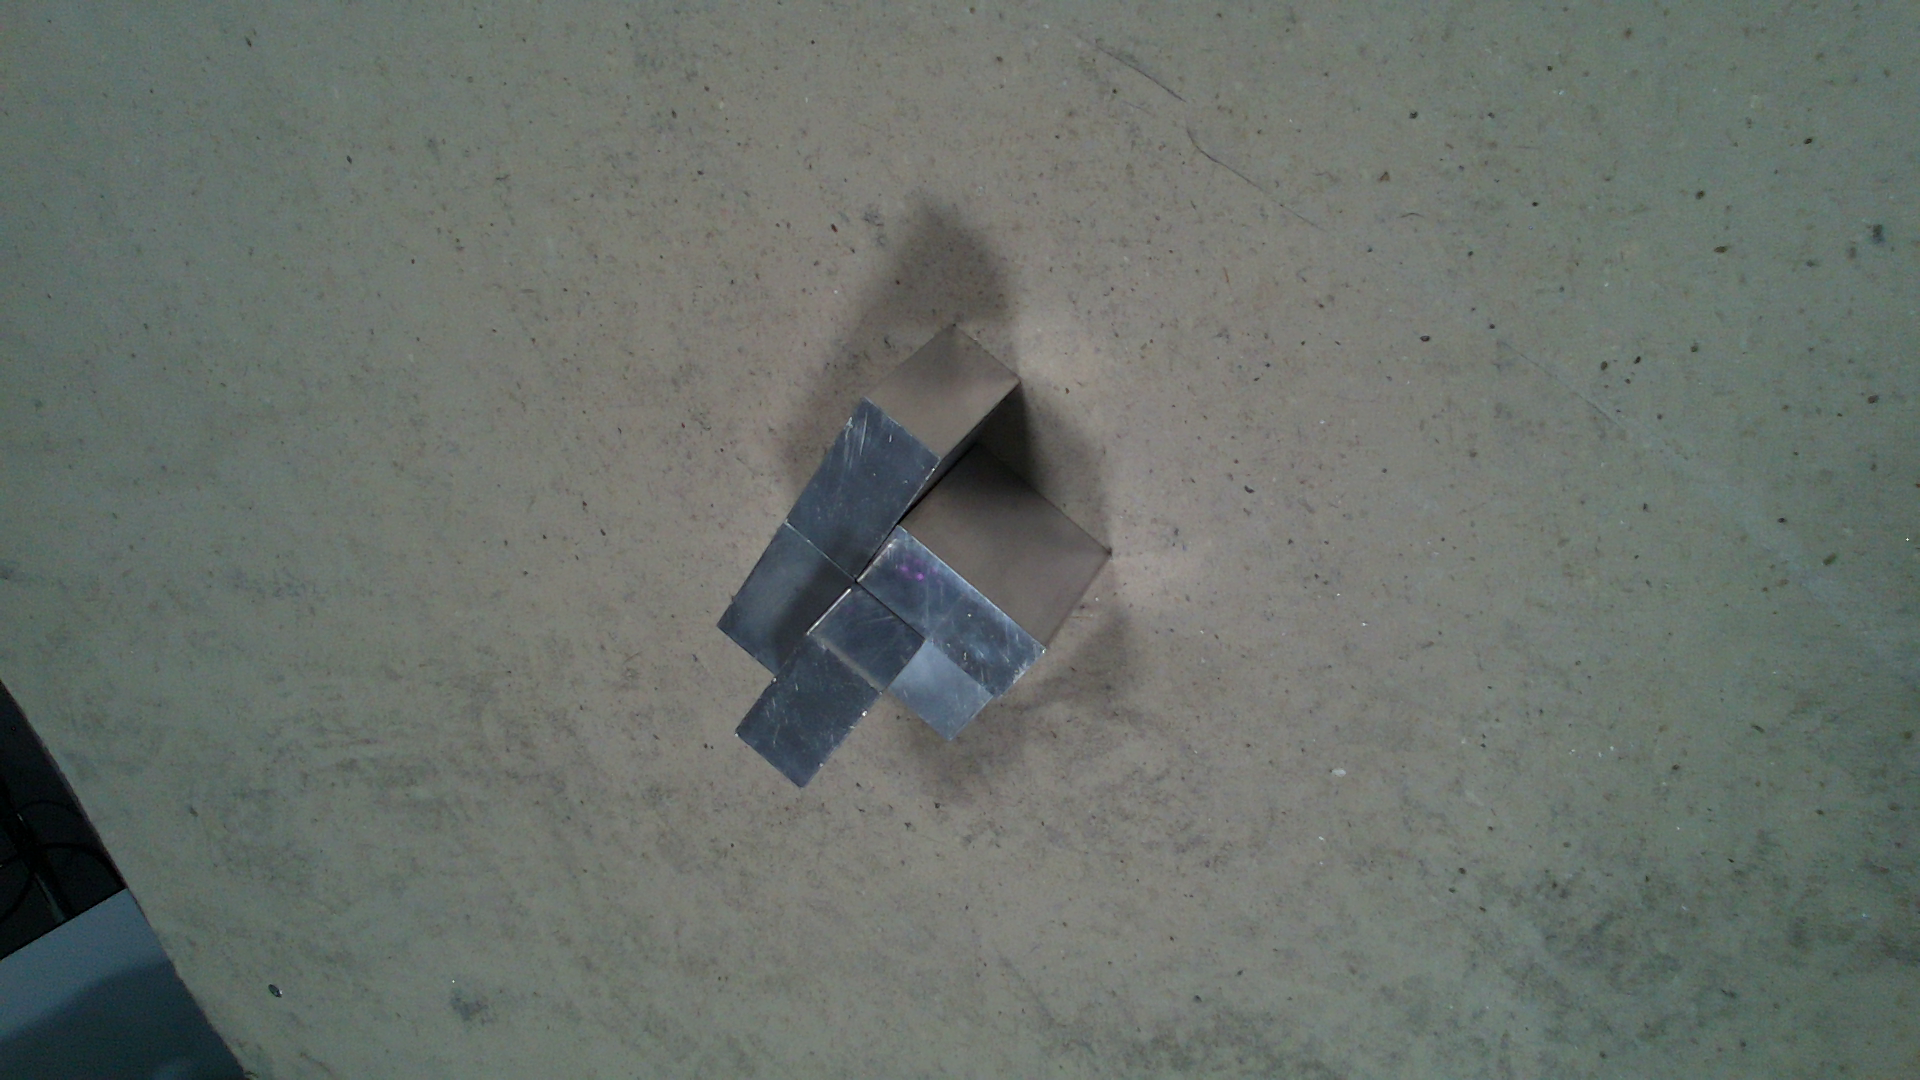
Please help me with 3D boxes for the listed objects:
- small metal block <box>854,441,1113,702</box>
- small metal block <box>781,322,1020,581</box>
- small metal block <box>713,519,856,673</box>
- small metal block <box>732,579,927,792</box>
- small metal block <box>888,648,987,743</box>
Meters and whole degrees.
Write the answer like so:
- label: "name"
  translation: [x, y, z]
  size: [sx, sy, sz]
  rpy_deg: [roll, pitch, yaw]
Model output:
- label: "small metal block"
  translation: [0.007, 0.008, 0.377]
  size: [0.050, 0.050, 0.025]
  rpy_deg: [40, 129, 1]
- label: "small metal block"
  translation: [-0.016, -0.024, 0.370]
  size: [0.025, 0.050, 0.050]
  rpy_deg: [39, 129, 2]
- label: "small metal block"
  translation: [-0.039, 0.006, 0.402]
  size: [0.025, 0.050, 0.050]
  rpy_deg: [39, 129, 2]
- label: "small metal block"
  translation: [-0.031, 0.034, 0.382]
  size: [0.025, 0.050, 0.050]
  rpy_deg: [39, 129, 2]
- label: "small metal block"
  translation: [-0.005, 0.025, 0.411]
  size: [0.050, 0.025, 0.050]
  rpy_deg: [40, 129, 1]
